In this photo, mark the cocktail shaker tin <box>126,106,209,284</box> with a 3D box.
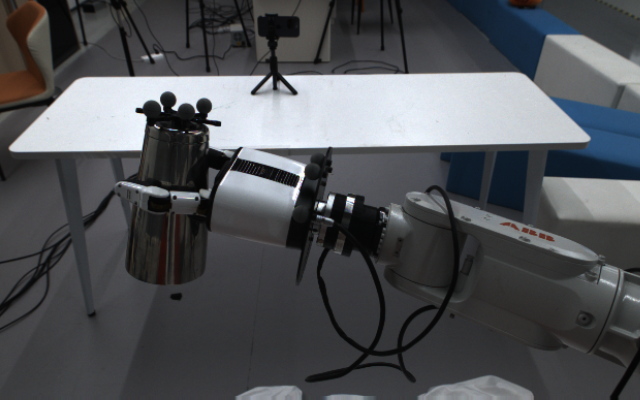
[{"bbox_3d":[-0.165,-0.001,0.546,0.093,0.170,0.093,10,19,-3],"label":"cocktail shaker tin"}]
